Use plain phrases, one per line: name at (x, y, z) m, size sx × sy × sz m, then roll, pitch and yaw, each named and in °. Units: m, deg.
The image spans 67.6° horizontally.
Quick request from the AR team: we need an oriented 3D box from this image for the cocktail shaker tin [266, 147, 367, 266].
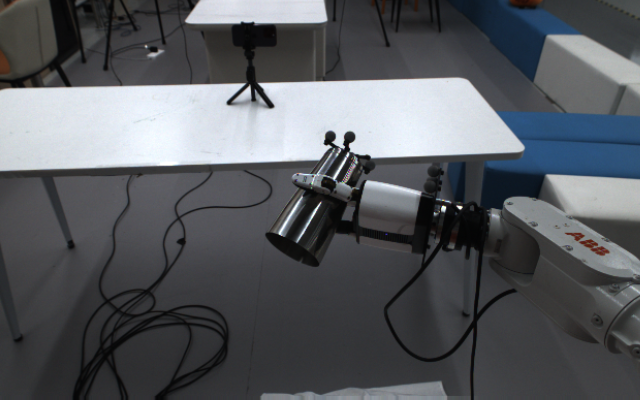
cocktail shaker tin at (0.001, 0.001, 0.736) m, size 0.093 × 0.093 × 0.170 m, roll 20°, pitch 67°, yaw 24°
